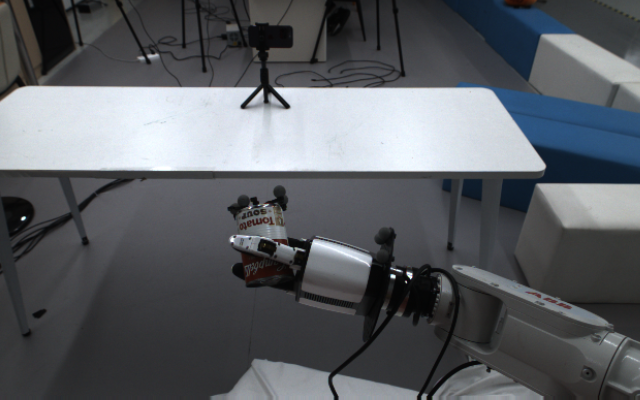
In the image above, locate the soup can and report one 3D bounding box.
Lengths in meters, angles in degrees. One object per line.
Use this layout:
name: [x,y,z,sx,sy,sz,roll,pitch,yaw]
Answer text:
soup can: [-0.074,0.064,0.664,0.067,0.067,0.101,-8,74,-14]
